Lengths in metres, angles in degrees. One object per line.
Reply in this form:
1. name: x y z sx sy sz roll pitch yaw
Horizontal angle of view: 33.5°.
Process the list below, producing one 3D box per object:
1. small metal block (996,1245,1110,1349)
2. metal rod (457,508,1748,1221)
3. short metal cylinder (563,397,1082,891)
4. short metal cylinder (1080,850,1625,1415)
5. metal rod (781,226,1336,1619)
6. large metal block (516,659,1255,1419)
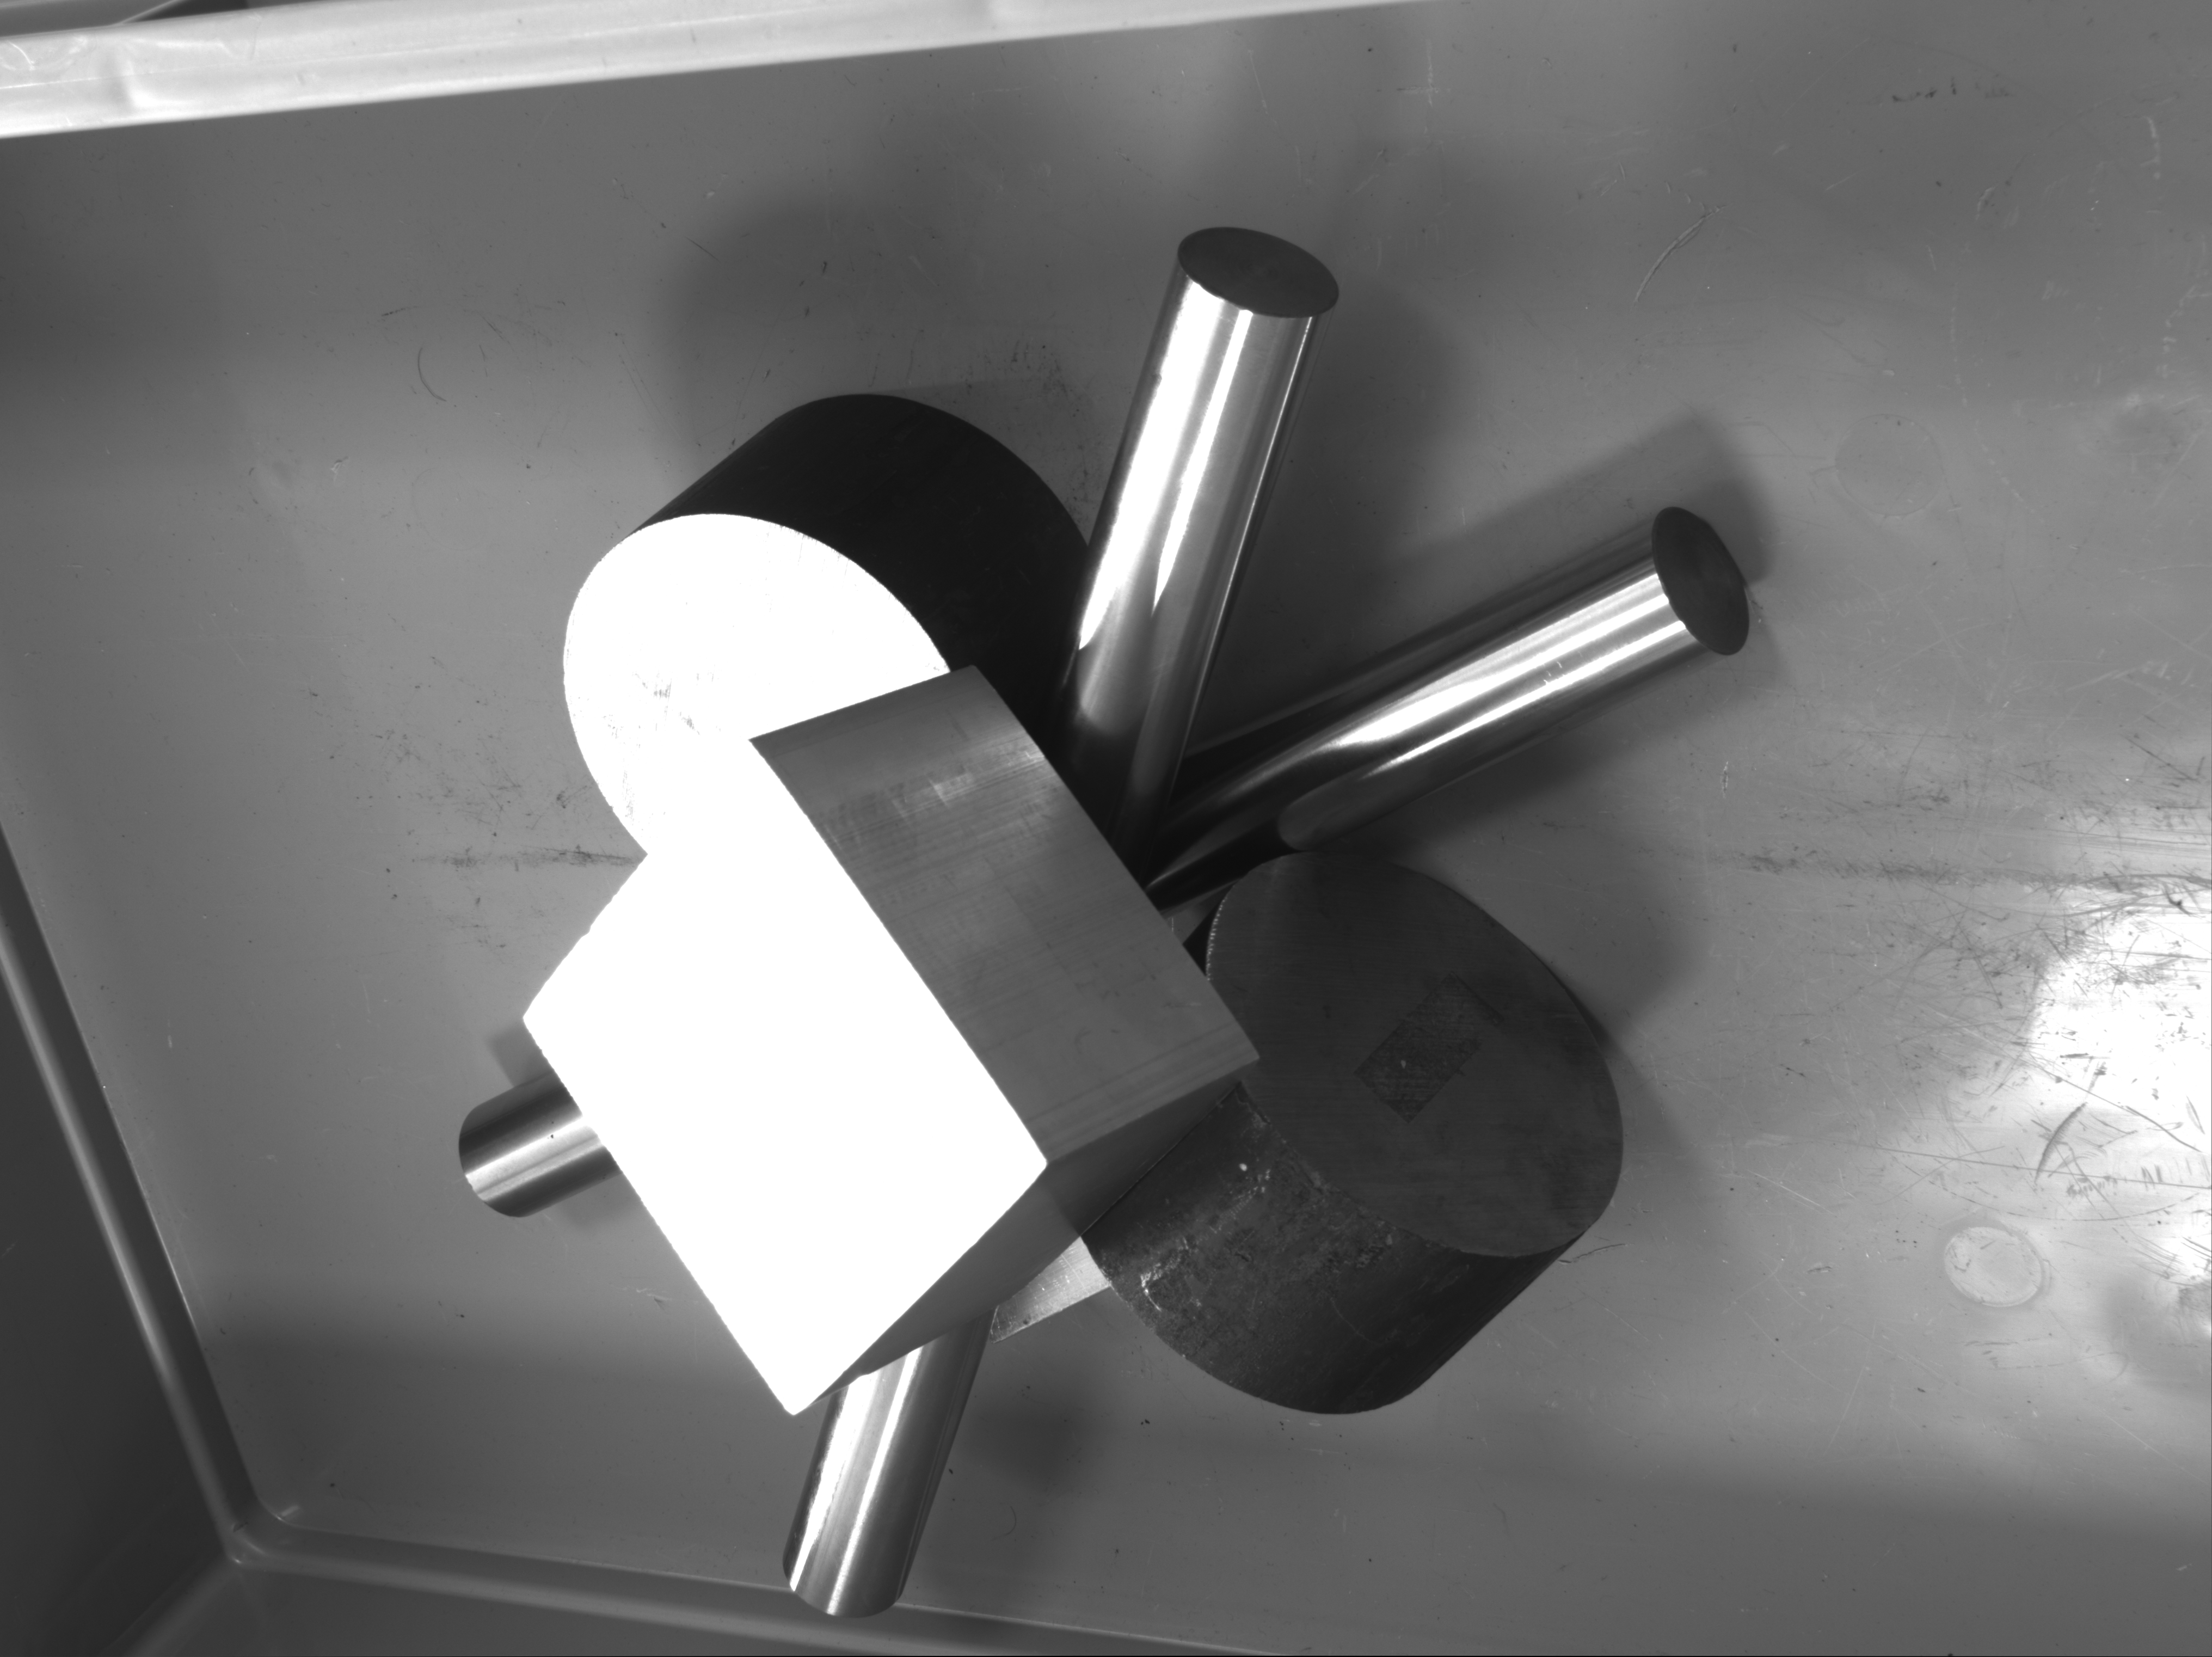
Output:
1. small metal block: -0.014 0.063 0.687 0.050 0.025 0.050 -32 101 38
2. metal rod: -0.015 0.015 0.658 0.299 0.025 0.025 -26 104 37
3. short metal cylinder: -0.046 -0.028 0.633 0.080 0.050 0.080 13 124 21
4. short metal cylinder: 0.040 0.051 0.616 0.080 0.080 0.050 40 130 1
5. metal rod: -0.015 0.032 0.637 0.025 0.025 0.300 27 127 12
6. large metal block: -0.037 0.033 0.584 0.080 0.050 0.080 54 131 12
